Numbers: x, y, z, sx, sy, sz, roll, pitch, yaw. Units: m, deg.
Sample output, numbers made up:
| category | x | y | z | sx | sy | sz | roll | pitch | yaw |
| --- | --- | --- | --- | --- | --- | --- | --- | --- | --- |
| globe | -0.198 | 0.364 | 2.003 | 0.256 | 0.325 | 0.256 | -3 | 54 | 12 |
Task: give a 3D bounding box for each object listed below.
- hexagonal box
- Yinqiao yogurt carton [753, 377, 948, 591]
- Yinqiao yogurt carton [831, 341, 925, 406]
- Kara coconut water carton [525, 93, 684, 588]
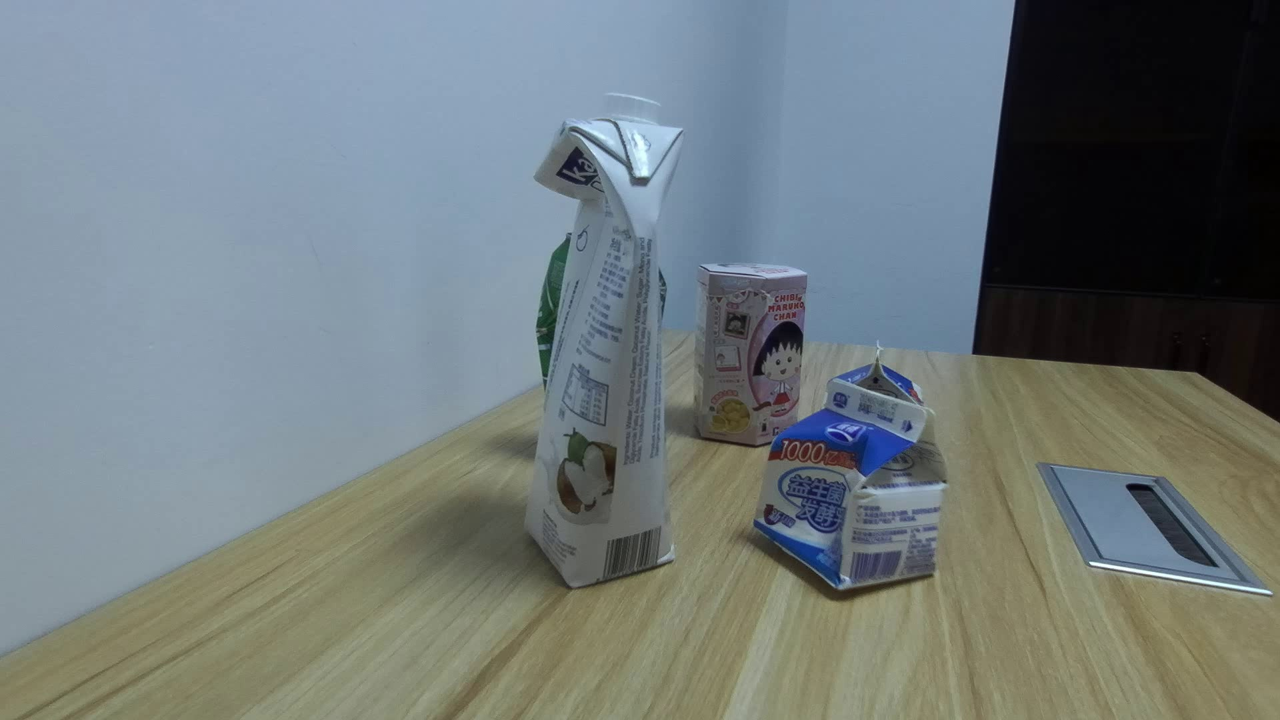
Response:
| category | x | y | z | sx | sy | sz | roll | pitch | yaw |
| --- | --- | --- | --- | --- | --- | --- | --- | --- | --- |
| hexagonal box | 0.088 | -0.007 | 0.574 | 0.091 | 0.136 | 0.083 | -9 | 16 | -37 |
| Yinqiao yogurt carton | 0.115 | 0.062 | 0.376 | 0.071 | 0.094 | 0.077 | 0 | 14 | -27 |
| Yinqiao yogurt carton | 0.171 | 0.034 | 0.516 | 0.073 | 0.092 | 0.076 | 5 | 15 | 18 |
| Kara coconut water carton | -0.017 | -0.010 | 0.365 | 0.069 | 0.238 | 0.114 | -4 | 14 | -27 |
